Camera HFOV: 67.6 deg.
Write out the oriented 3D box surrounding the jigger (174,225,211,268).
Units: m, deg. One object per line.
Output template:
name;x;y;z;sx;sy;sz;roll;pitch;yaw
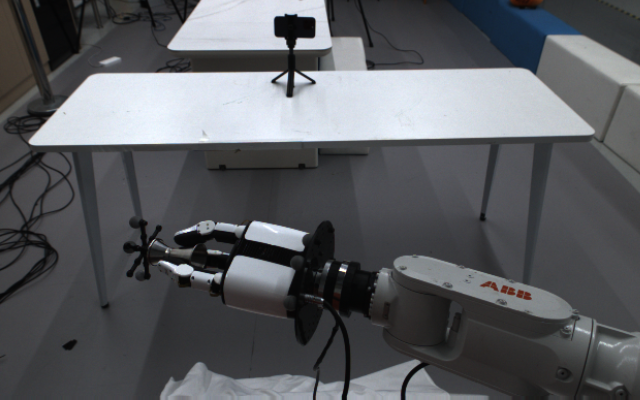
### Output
jigger;-0.189;0.074;0.662;0.071;0.043;0.043;6;35;15
